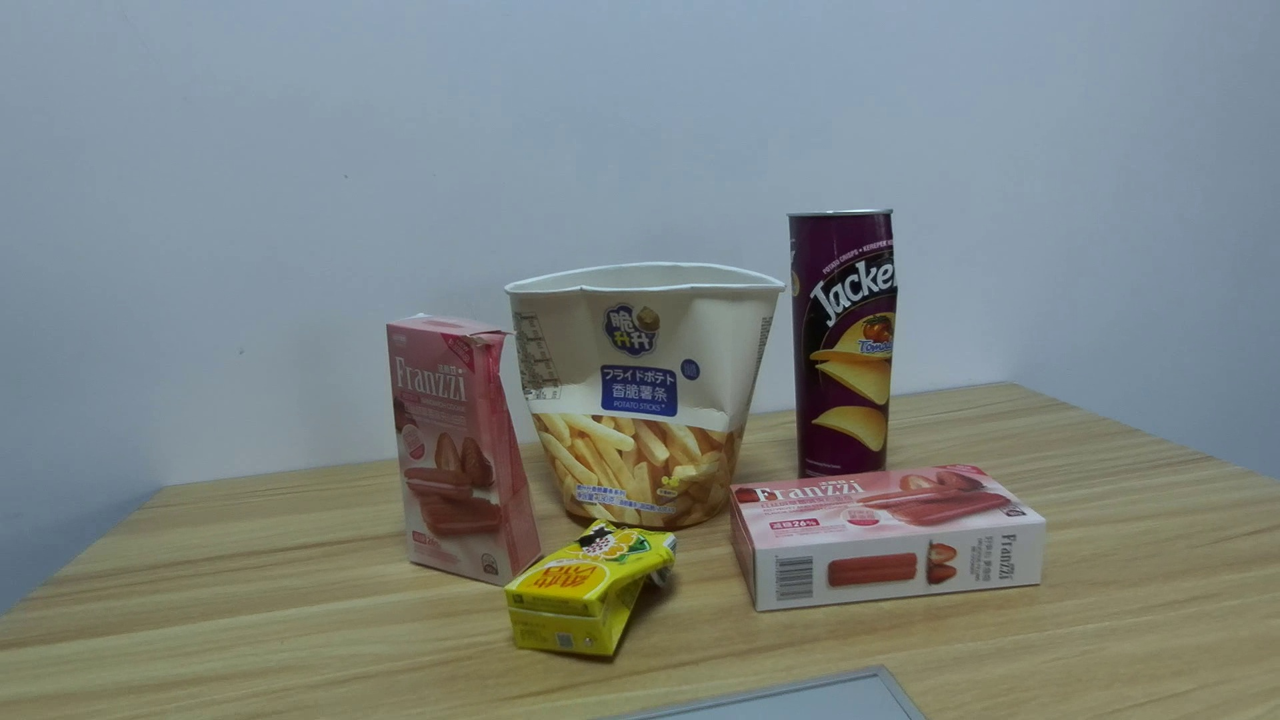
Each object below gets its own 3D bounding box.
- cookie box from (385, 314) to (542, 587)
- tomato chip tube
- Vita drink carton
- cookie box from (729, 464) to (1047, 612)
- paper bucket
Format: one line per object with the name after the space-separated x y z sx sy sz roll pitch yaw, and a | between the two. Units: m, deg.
-0.126 0.064 0.508 0.118 0.184 0.056 6 17 34 | cookie box
0.171 -0.008 0.602 0.076 0.235 0.077 -4 12 1 | tomato chip tube
-0.027 0.142 0.448 0.086 0.042 0.108 -5 8 29 | Vita drink carton
0.159 0.118 0.482 0.184 0.048 0.096 -5 13 -2 | cookie box
0.003 0.025 0.590 0.218 0.199 0.147 -5 14 -2 | paper bucket
